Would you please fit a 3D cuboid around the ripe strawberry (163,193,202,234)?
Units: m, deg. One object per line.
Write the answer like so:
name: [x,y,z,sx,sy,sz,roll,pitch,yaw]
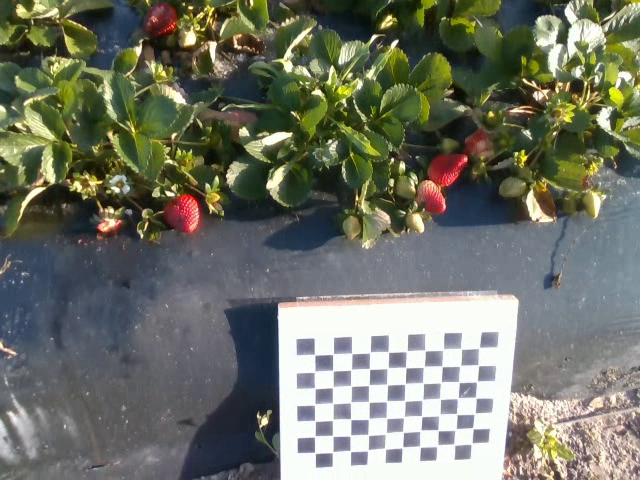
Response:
ripe strawberry: [-0.163,-0.026,0.709,0.052,0.051,0.041,-31,-43,2]
